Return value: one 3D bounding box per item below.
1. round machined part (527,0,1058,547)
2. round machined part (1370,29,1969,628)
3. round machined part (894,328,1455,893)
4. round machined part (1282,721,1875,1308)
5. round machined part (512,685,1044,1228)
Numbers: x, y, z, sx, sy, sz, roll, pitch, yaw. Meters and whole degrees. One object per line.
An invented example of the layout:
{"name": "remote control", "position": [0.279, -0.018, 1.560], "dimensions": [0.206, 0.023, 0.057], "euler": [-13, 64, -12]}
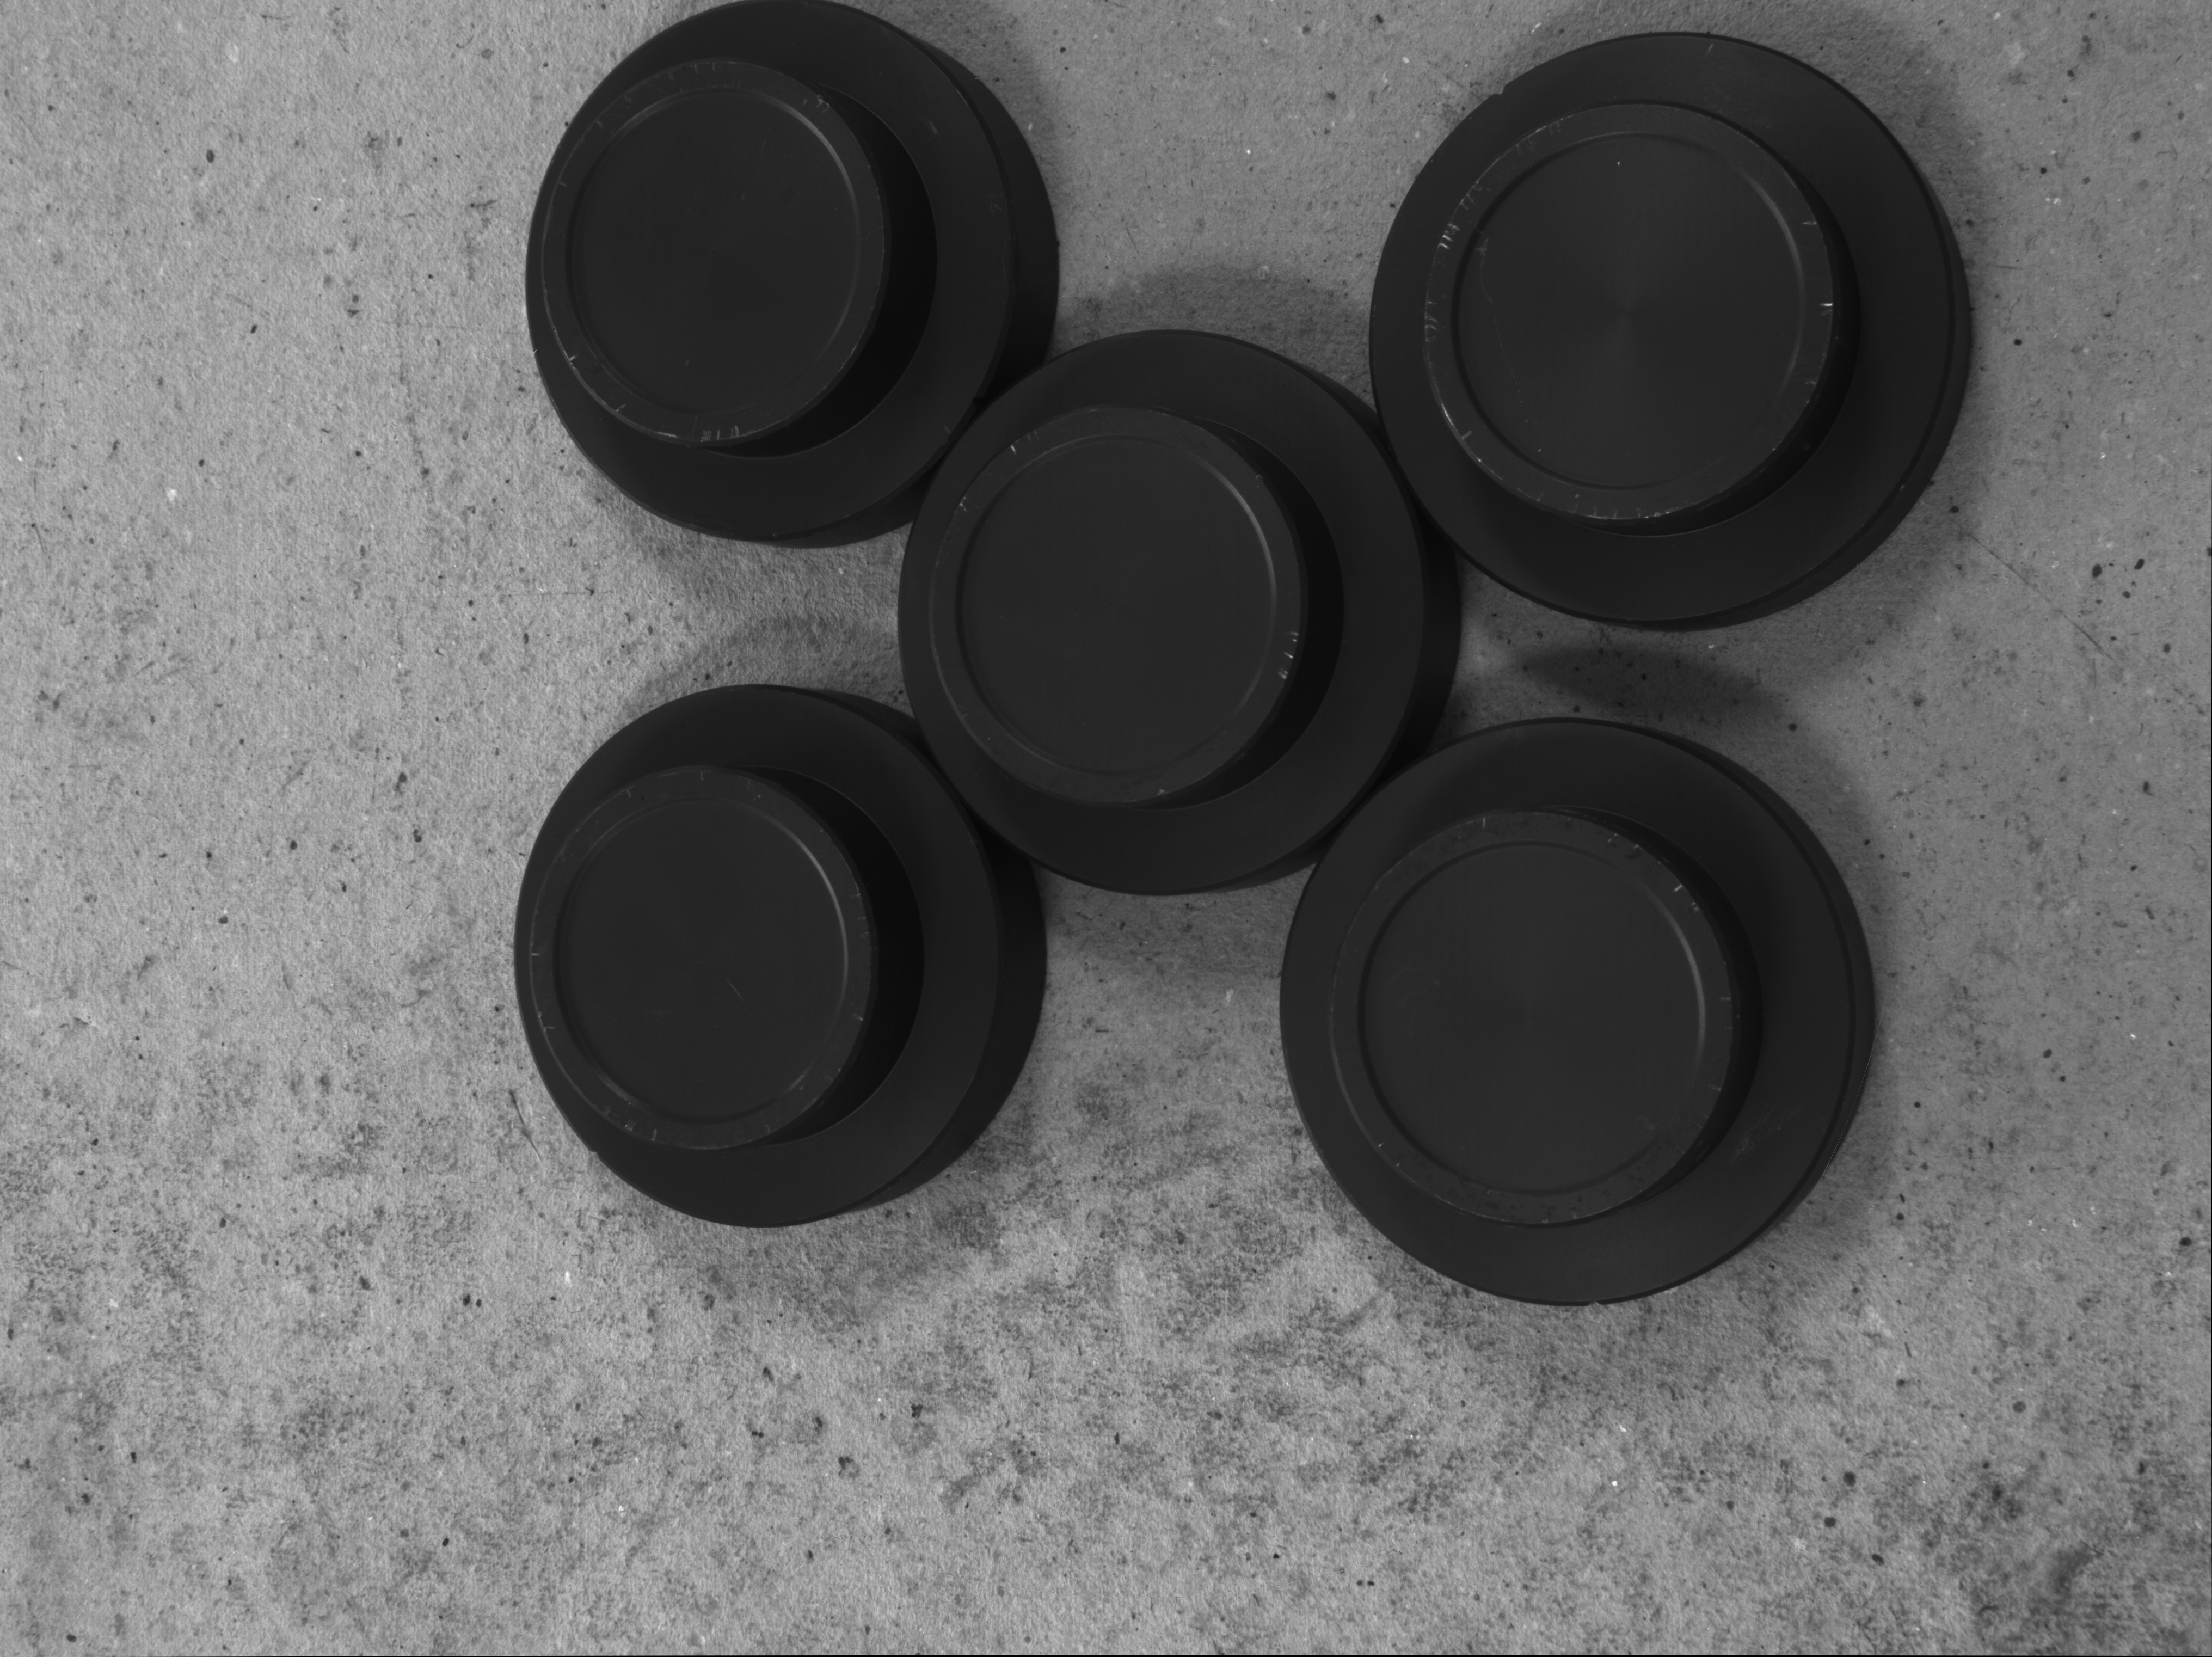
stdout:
{"name": "round machined part", "position": [-0.061, -0.101, 0.660], "dimensions": [0.098, 0.042, 0.098], "euler": [0, 90, 20]}
{"name": "round machined part", "position": [0.090, -0.082, 0.604], "dimensions": [0.098, 0.042, 0.098], "euler": [1, 92, 21]}
{"name": "round machined part", "position": [0.008, -0.038, 0.635], "dimensions": [0.098, 0.042, 0.098], "euler": [1, 92, 21]}
{"name": "round machined part", "position": [0.075, 0.031, 0.610], "dimensions": [0.098, 0.042, 0.098], "euler": [1, 92, 21]}
{"name": "round machined part", "position": [-0.064, 0.023, 0.660], "dimensions": [0.098, 0.042, 0.098], "euler": [0, 91, 20]}
